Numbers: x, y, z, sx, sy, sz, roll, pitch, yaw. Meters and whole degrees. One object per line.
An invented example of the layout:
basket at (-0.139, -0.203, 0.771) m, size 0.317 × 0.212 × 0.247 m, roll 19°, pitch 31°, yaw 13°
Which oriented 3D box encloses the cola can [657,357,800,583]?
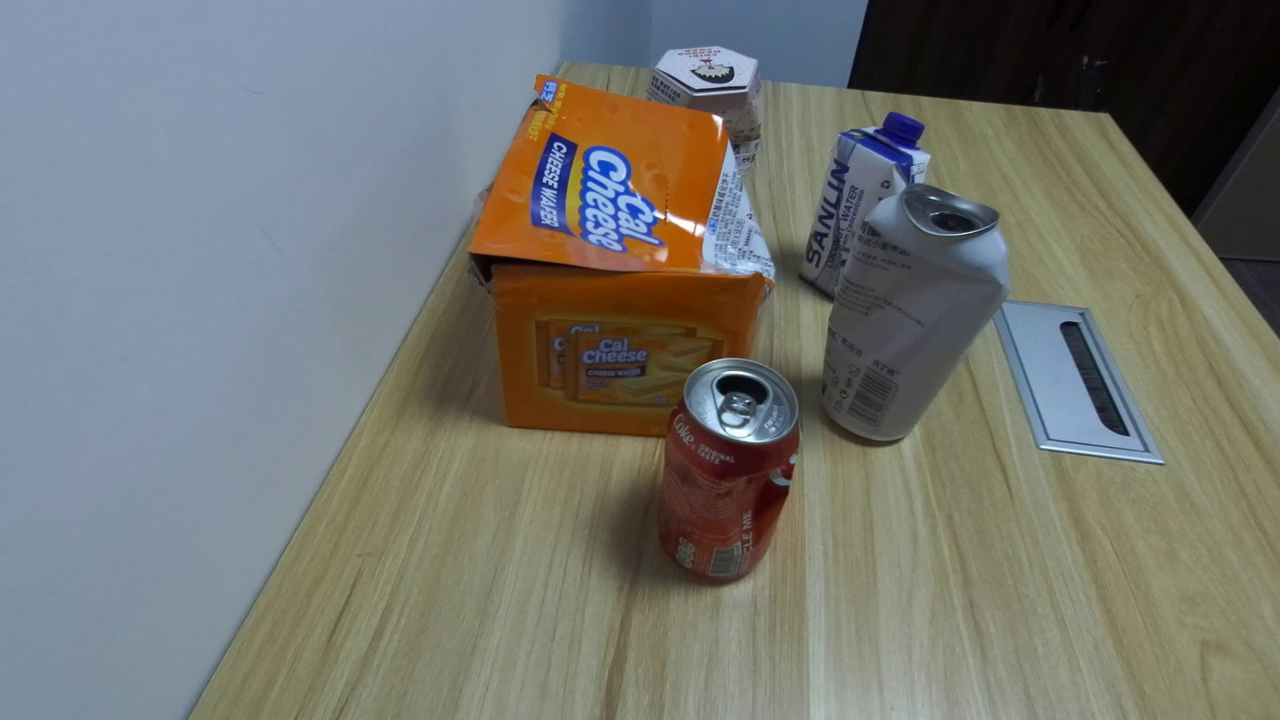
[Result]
cola can at (0.044, 0.058, 0.364) m, size 0.066 × 0.117 × 0.066 m, roll -26°, pitch 51°, yaw -27°

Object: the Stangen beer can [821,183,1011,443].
Stangen beer can at (0.161, -0.022, 0.429) m, size 0.077 × 0.162 × 0.065 m, roll 2°, pitch 44°, yaw -3°

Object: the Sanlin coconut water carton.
Sanlin coconut water carton at (0.174, -0.116, 0.543) m, size 0.058 × 0.142 × 0.077 m, roll -23°, pitch 49°, yaw -32°

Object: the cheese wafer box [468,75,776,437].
cheese wafer box at (0.003, -0.078, 0.486) m, size 0.191 × 0.145 × 0.218 m, roll 3°, pitch 44°, yaw 1°

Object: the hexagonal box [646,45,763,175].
hexagonal box at (0.054, -0.191, 0.616) m, size 0.091 × 0.134 × 0.090 m, roll 22°, pitch 50°, yaw 17°
